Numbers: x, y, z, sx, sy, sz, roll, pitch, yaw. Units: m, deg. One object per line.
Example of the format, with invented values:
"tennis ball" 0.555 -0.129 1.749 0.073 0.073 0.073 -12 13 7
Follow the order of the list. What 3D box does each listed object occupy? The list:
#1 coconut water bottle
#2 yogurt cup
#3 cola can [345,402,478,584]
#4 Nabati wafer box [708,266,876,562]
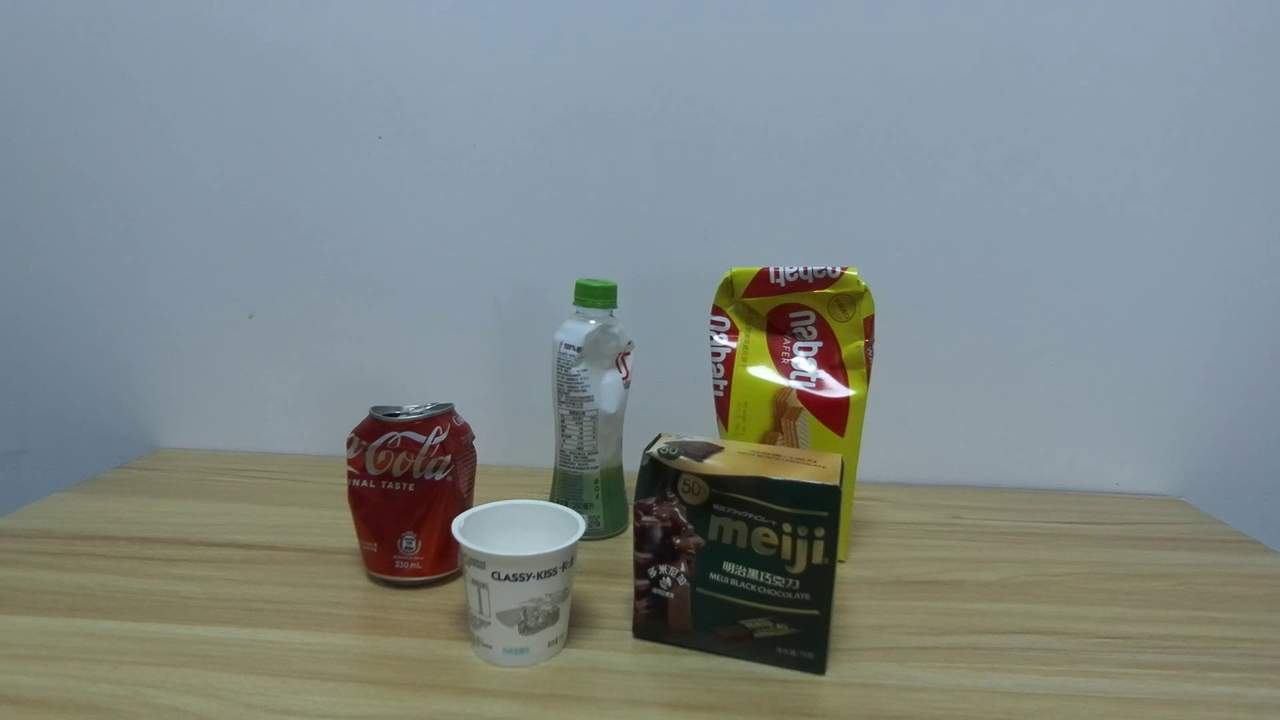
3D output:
"coconut water bottle" -0.036 0.035 0.528 0.069 0.186 0.069 3 9 0
"yogurt cup" -0.066 0.122 0.387 0.072 0.068 0.072 2 11 0
"cola can" -0.144 0.084 0.459 0.069 0.112 0.066 6 11 22
"Nabati wafer box" 0.105 0.038 0.499 0.113 0.205 0.042 2 9 4
